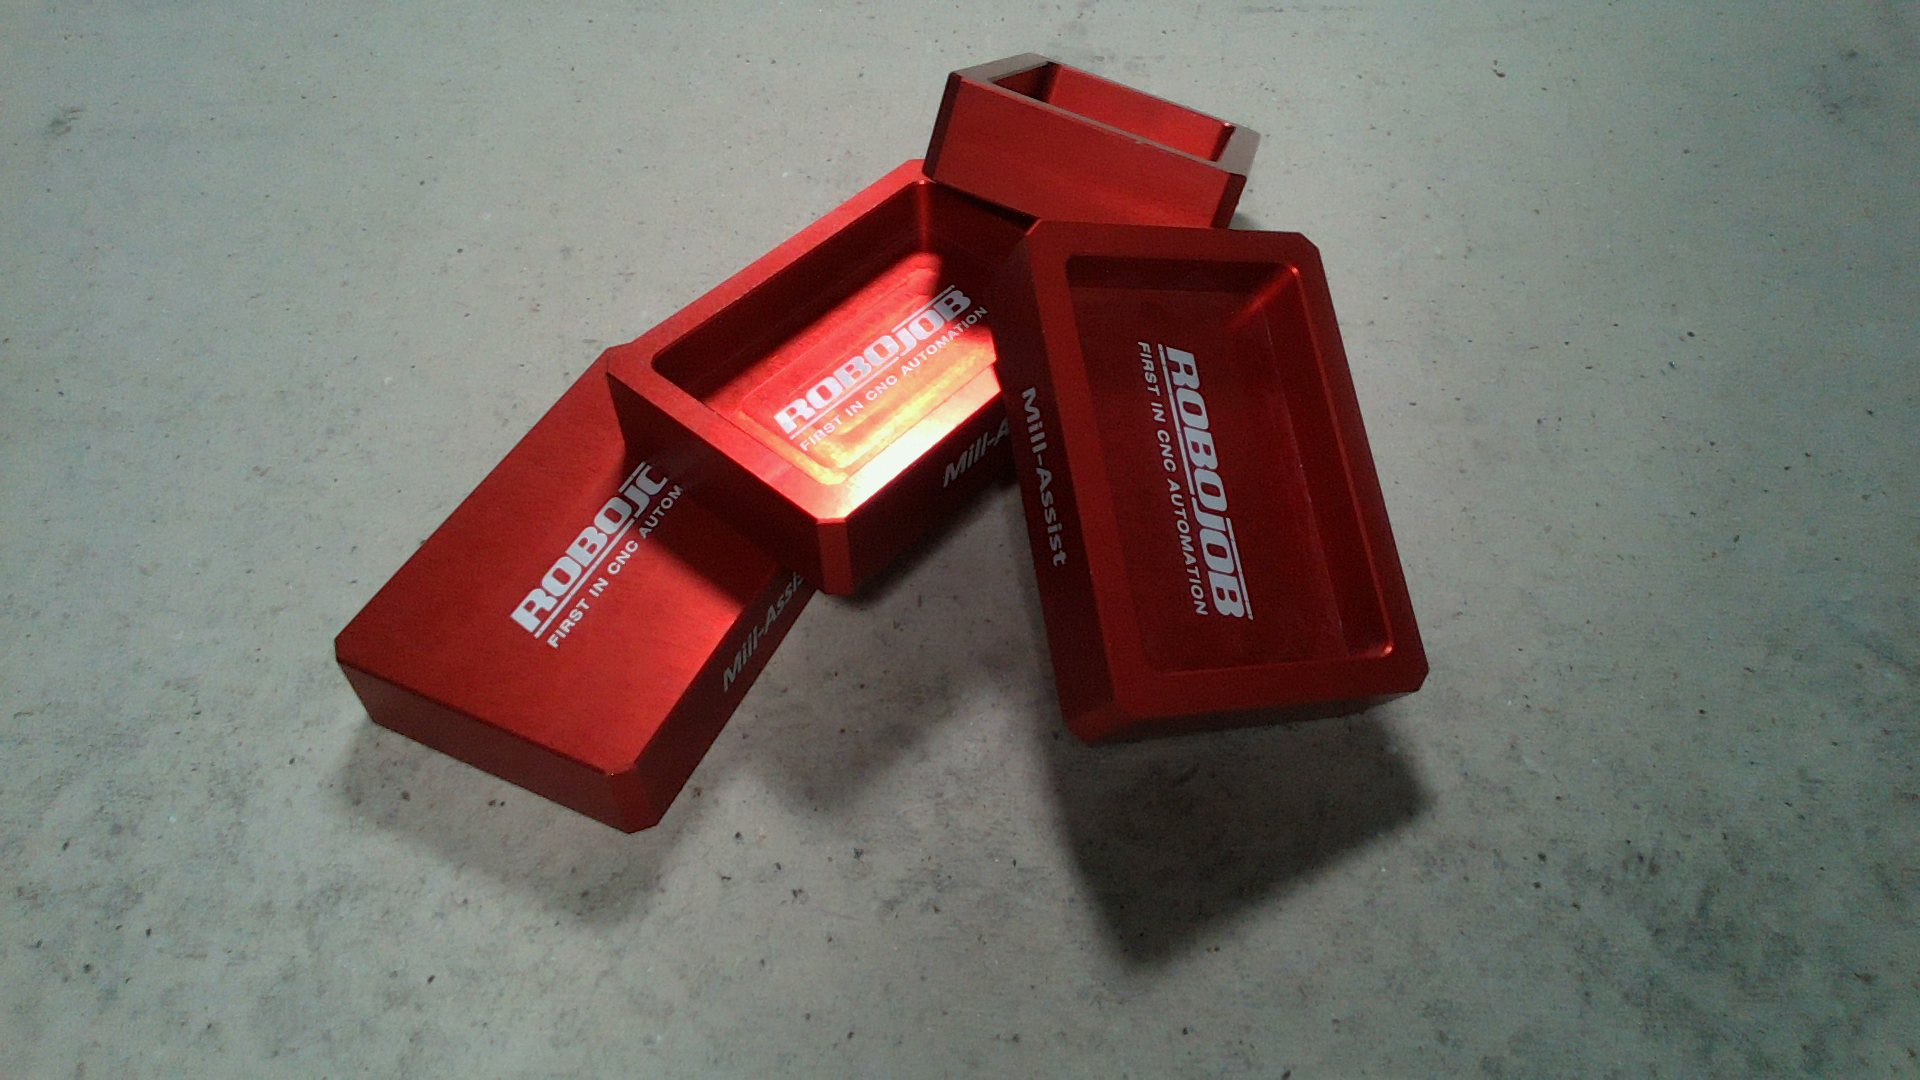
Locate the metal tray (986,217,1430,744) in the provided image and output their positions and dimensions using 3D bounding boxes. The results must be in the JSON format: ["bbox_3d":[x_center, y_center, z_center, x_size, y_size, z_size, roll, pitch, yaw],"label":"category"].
[{"bbox_3d":[0.063,-0.018,0.359,0.090,0.030,0.130,-3,72,-23],"label":"metal tray"}]

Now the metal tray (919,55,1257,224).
[{"bbox_3d":[0.048,-0.126,0.450,0.090,0.030,0.130,21,25,5],"label":"metal tray"}]

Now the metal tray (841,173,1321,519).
[{"bbox_3d":[0.039,-0.067,0.445,0.130,0.030,0.090,21,53,17],"label":"metal tray"}]

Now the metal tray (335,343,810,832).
[{"bbox_3d":[-0.092,0.006,0.382,0.090,0.030,0.130,19,53,16],"label":"metal tray"}]

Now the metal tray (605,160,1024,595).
[{"bbox_3d":[-0.022,-0.052,0.394,0.090,0.030,0.130,34,58,25],"label":"metal tray"}]
